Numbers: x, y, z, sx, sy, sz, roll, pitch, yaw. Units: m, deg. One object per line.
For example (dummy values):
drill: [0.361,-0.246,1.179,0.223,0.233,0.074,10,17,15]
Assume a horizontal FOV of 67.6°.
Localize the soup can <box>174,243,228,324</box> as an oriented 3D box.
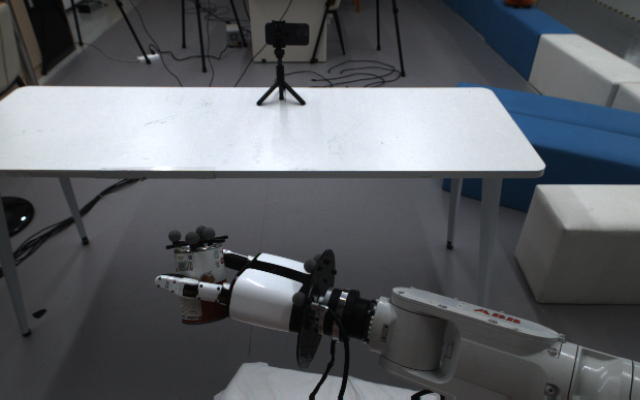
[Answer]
soup can: [-0.163,0.115,0.671,0.067,0.101,0.067,-7,3,0]
